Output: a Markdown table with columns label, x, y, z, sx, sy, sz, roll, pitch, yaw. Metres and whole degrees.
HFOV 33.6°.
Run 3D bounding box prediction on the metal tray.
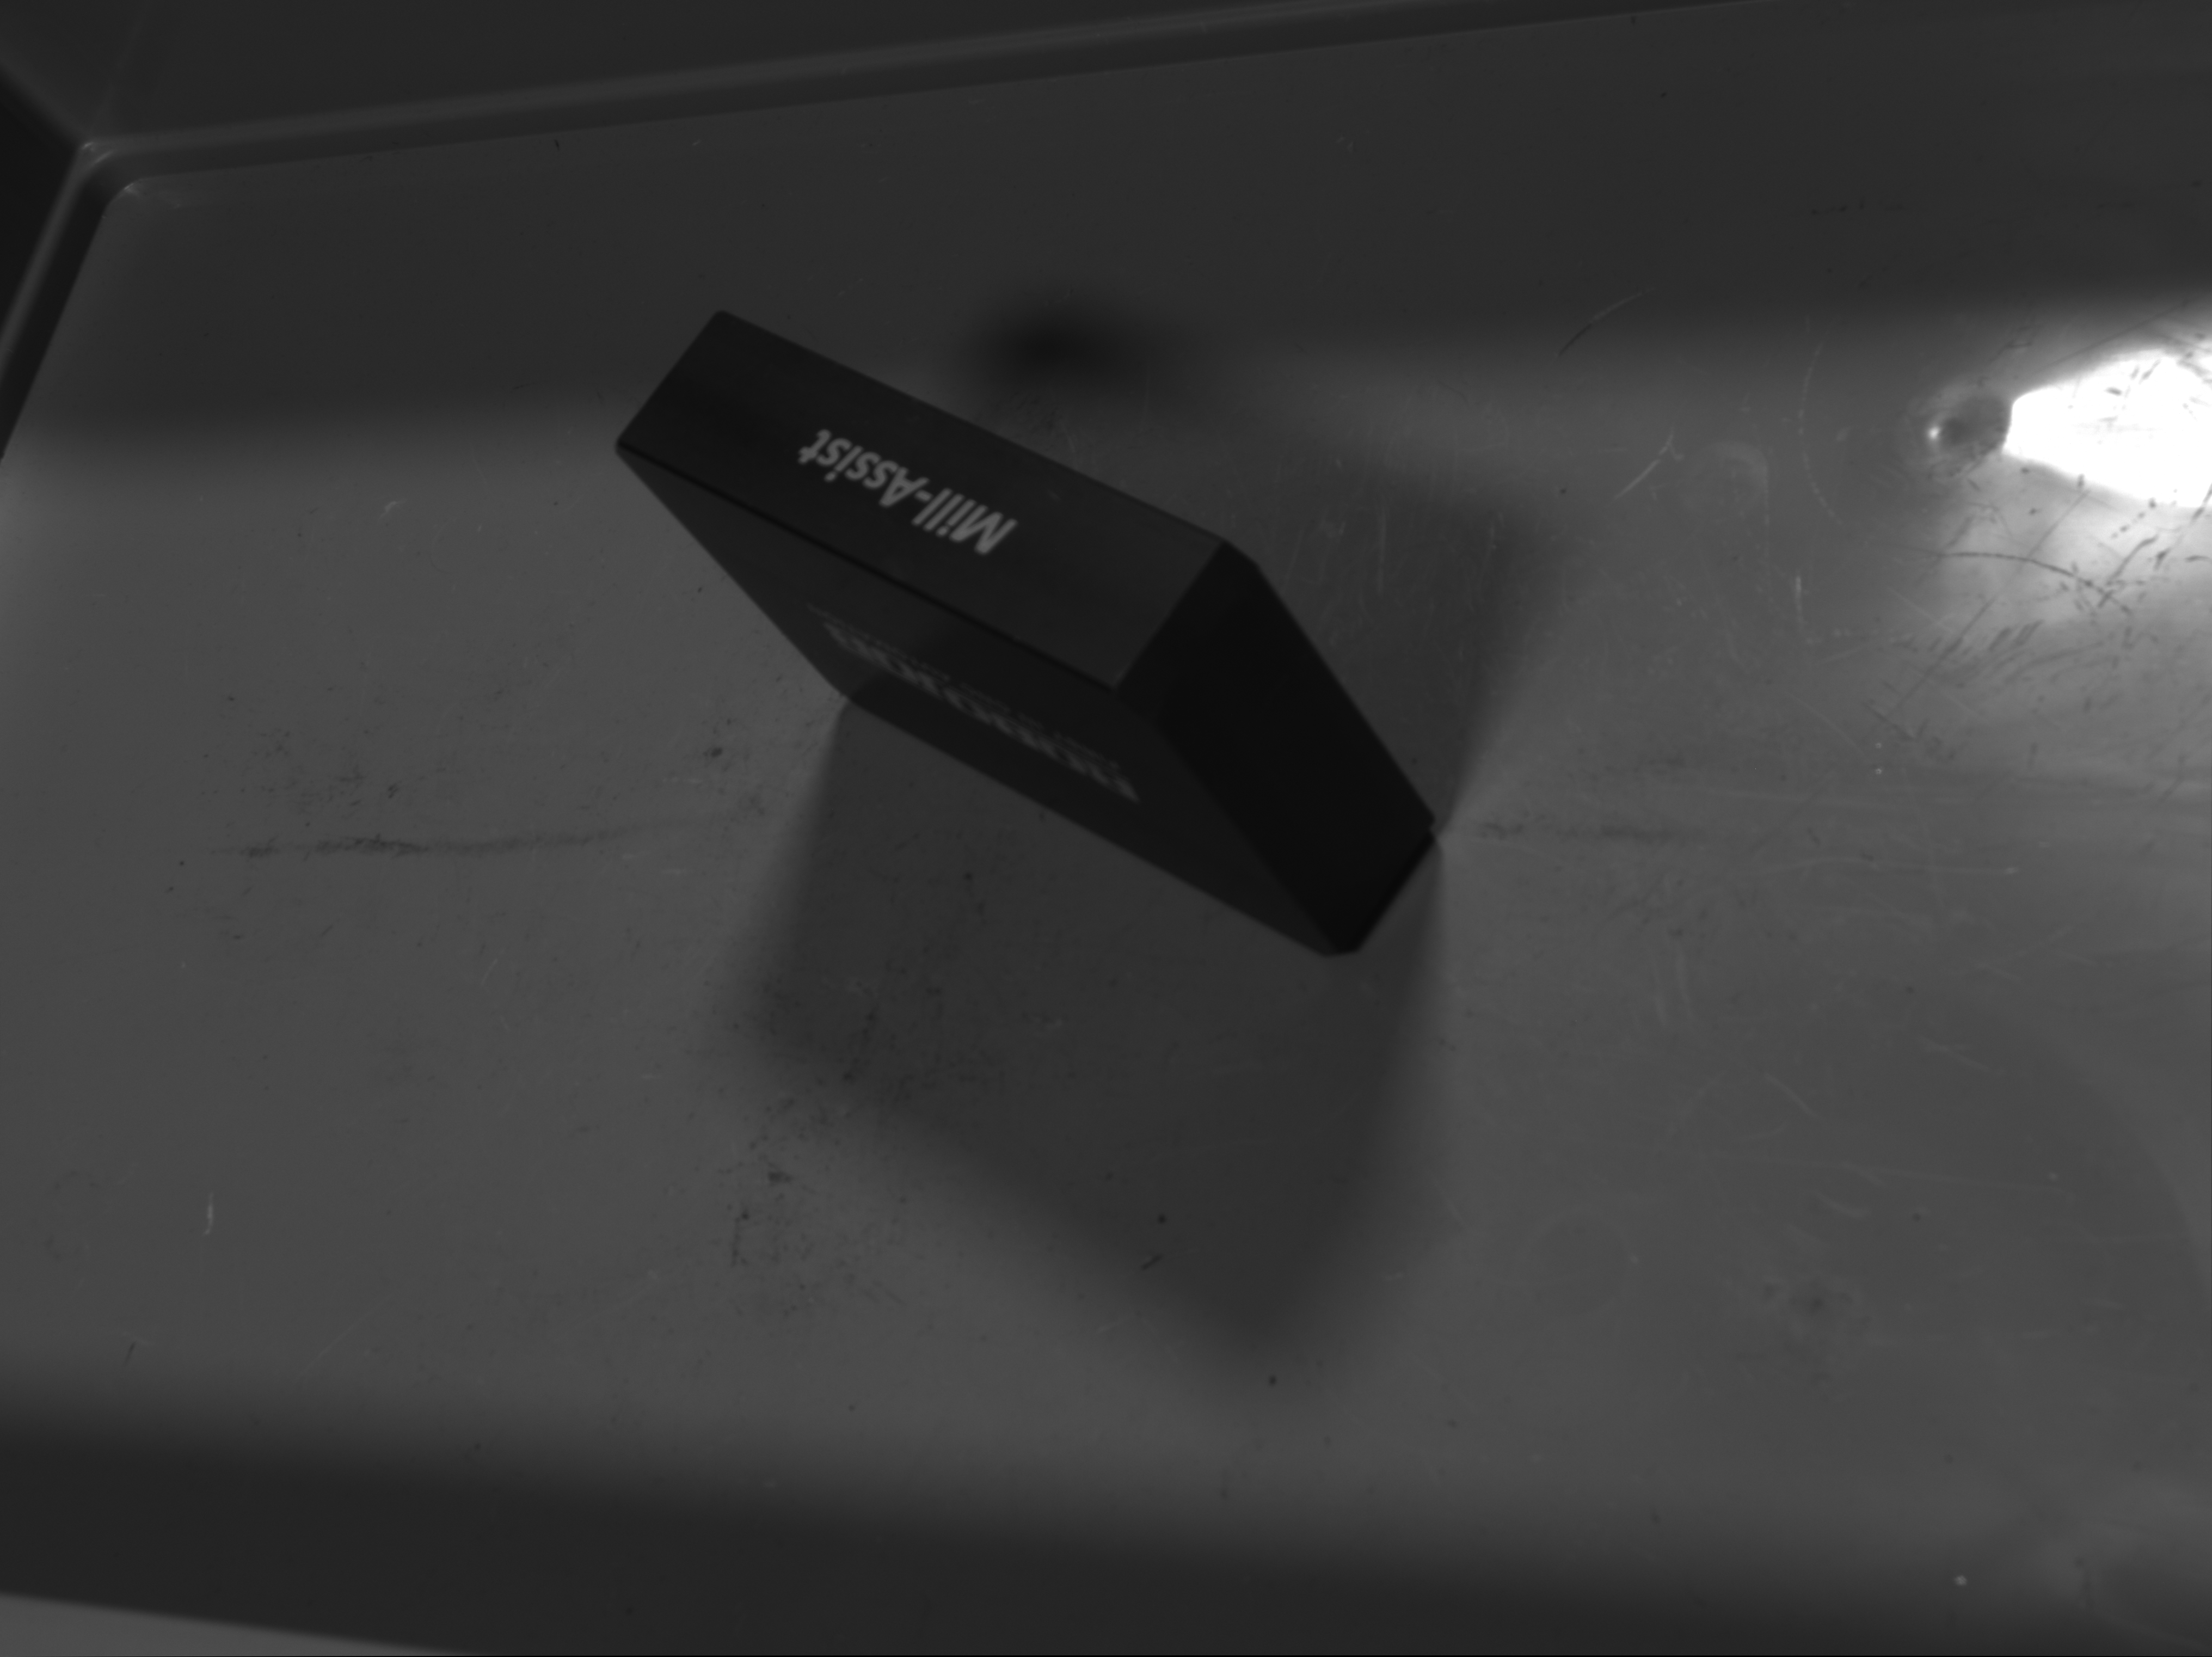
| label | x | y | z | sx | sy | sz | roll | pitch | yaw |
| --- | --- | --- | --- | --- | --- | --- | --- | --- | --- |
| metal tray | -0.012 | -0.033 | 0.626 | 0.130 | 0.090 | 0.030 | 28 | 77 | 37 |
